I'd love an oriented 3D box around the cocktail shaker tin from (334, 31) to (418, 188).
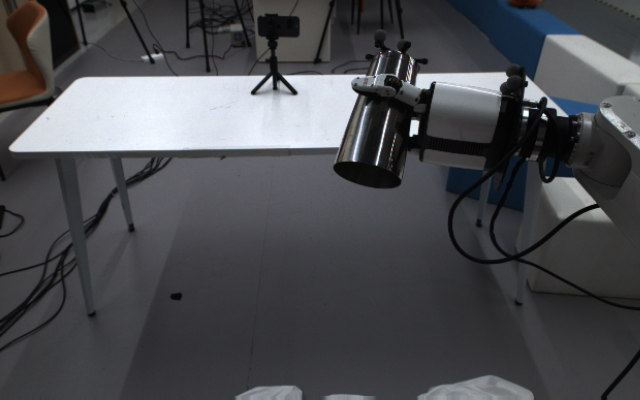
[{"bbox_3d":[0.083,-0.111,0.652,0.093,0.093,0.170,12,75,14],"label":"cocktail shaker tin"}]
